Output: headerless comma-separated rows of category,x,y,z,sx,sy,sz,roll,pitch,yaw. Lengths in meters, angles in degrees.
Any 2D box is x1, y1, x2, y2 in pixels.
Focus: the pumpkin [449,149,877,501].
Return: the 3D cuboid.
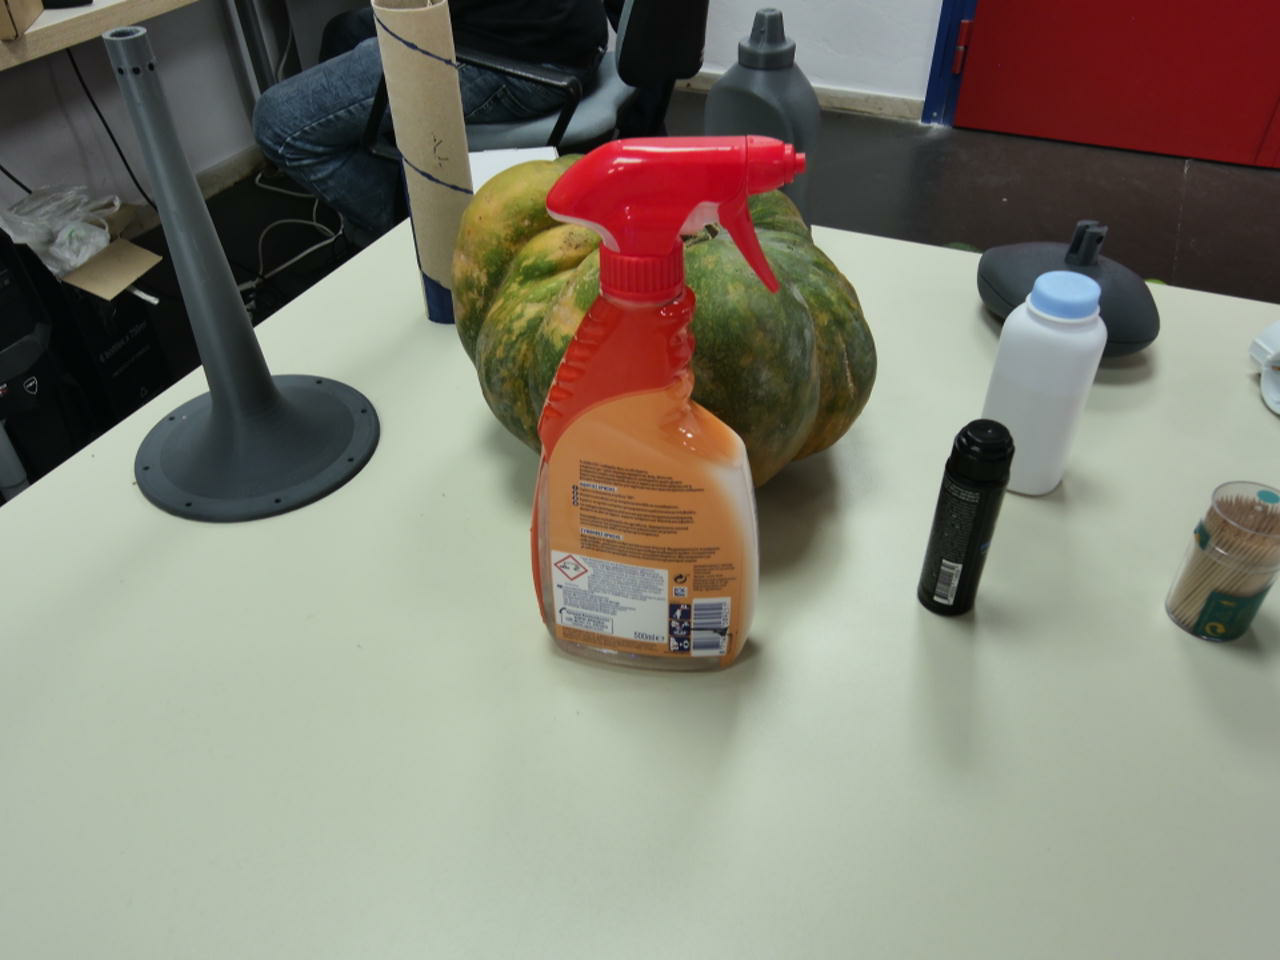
pumpkin,0.014,-0.100,0.603,0.237,0.173,0.270,-18,42,-21
